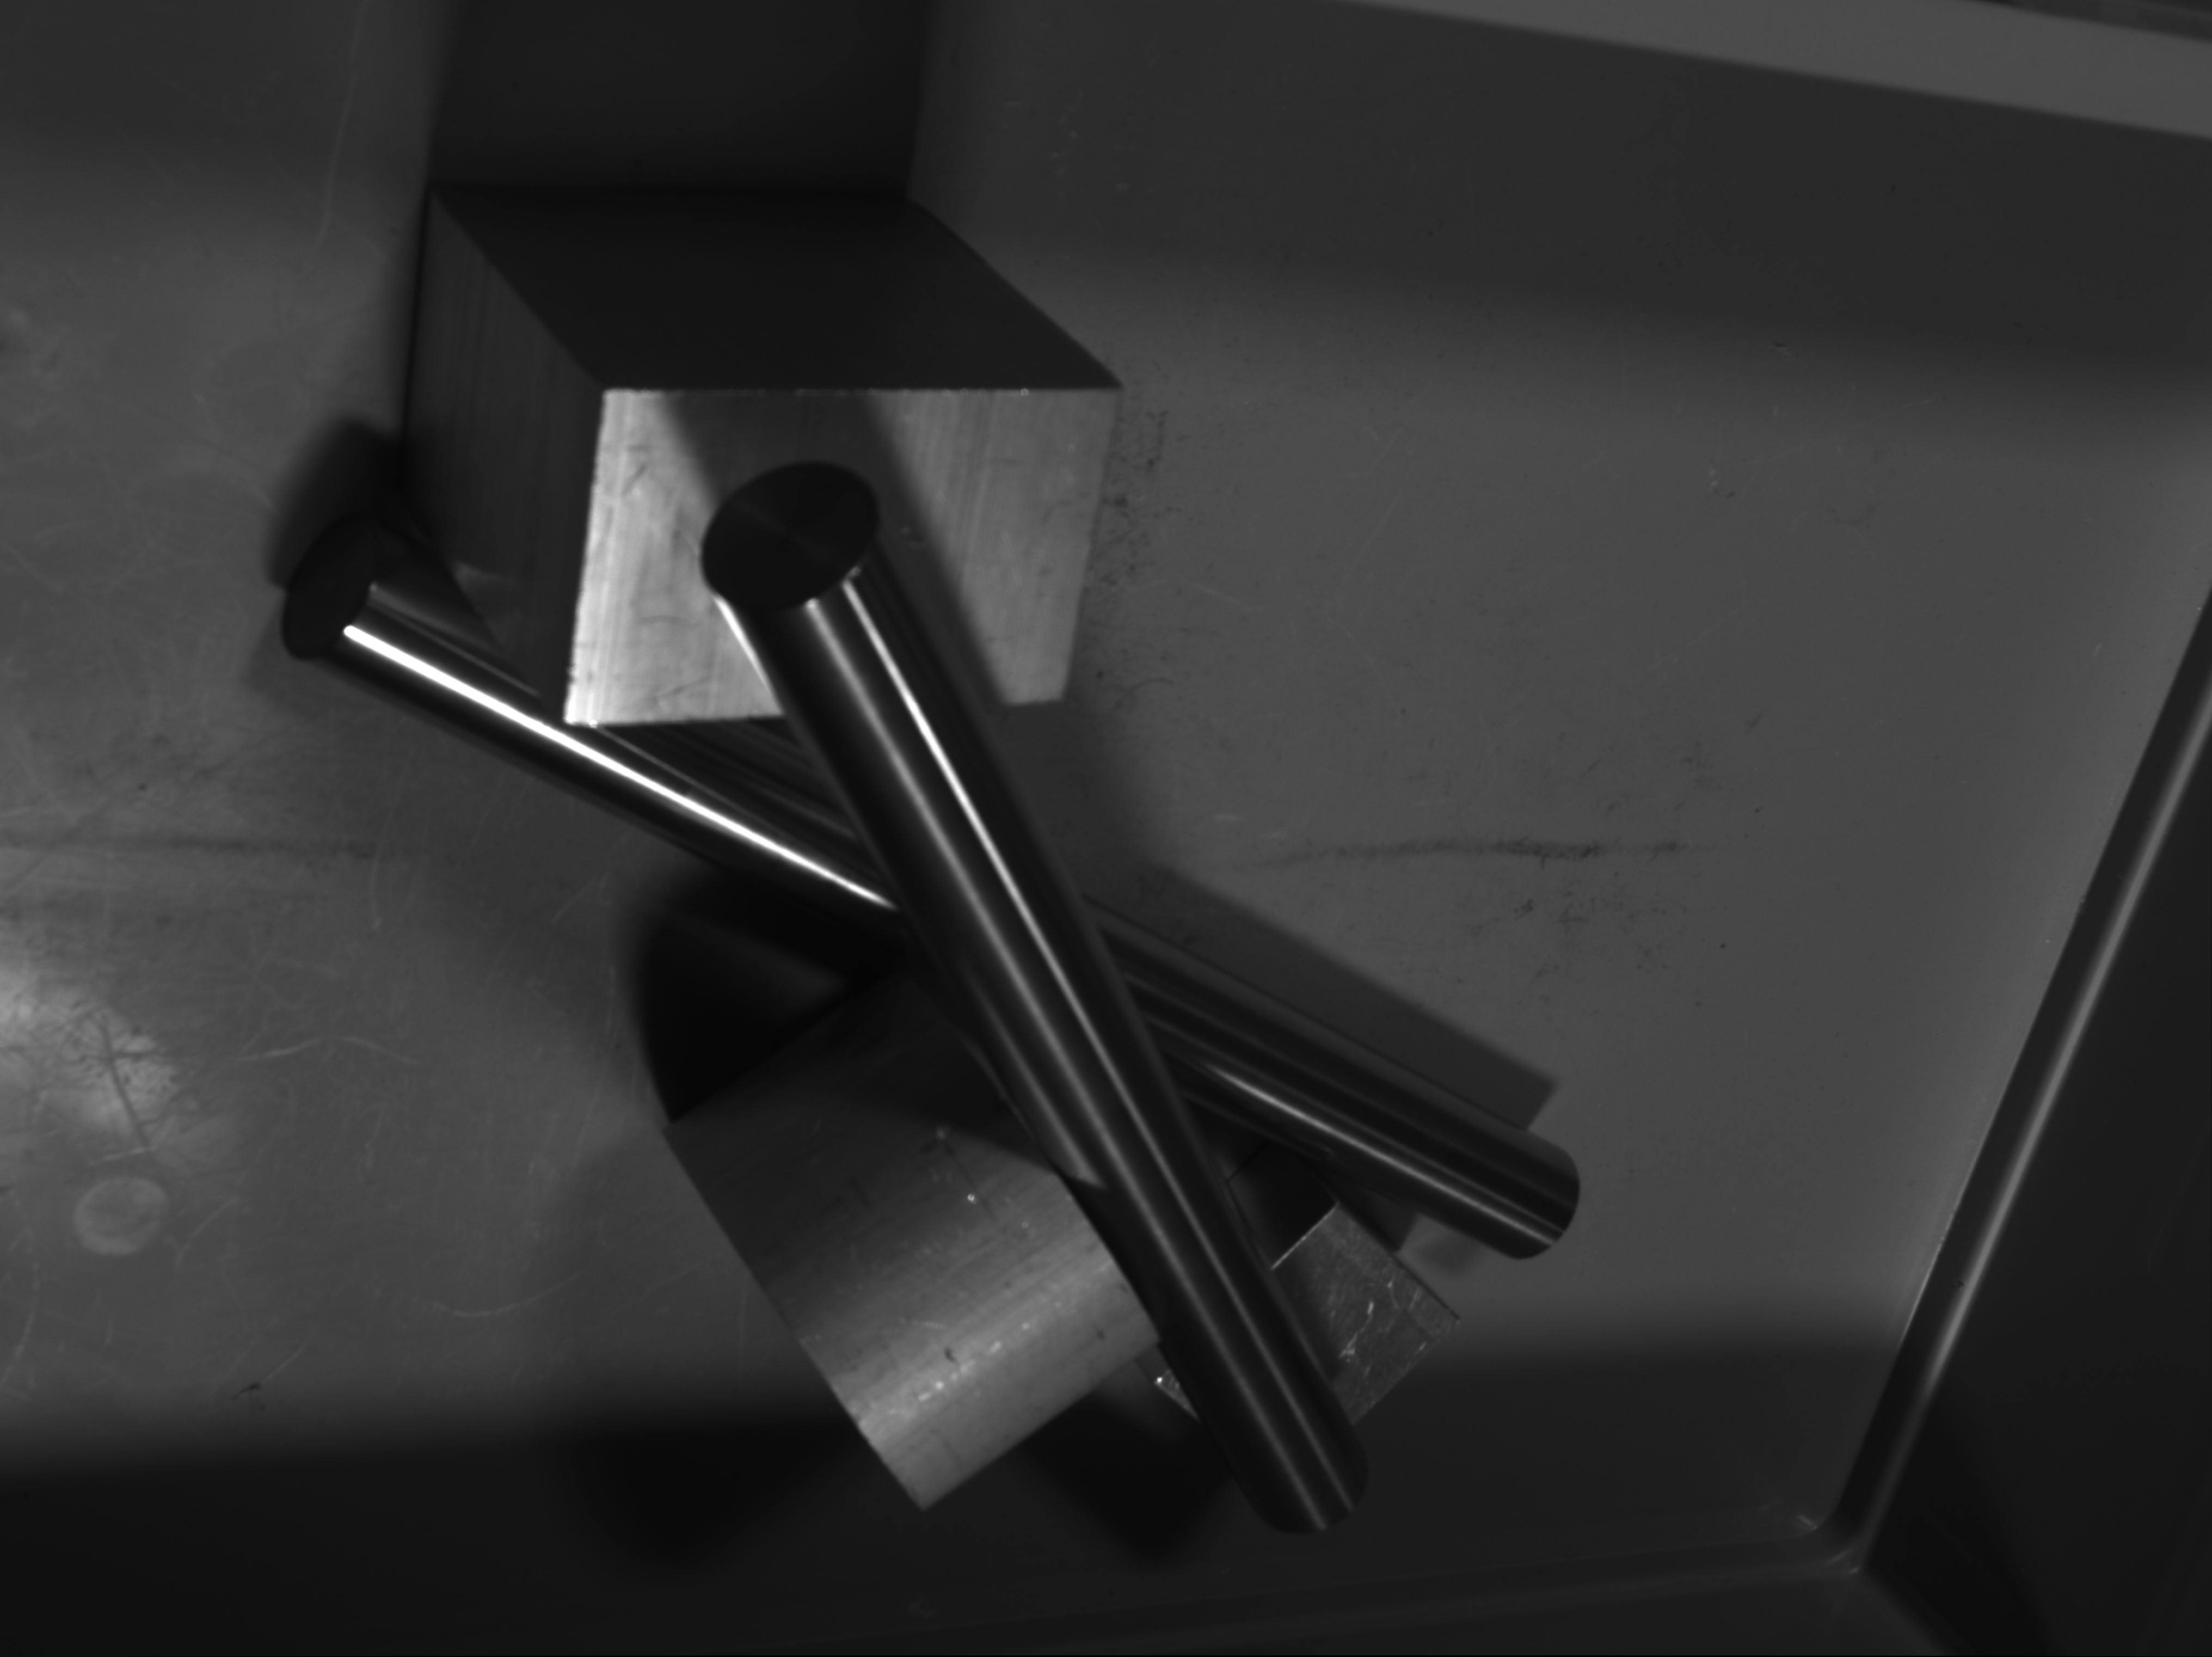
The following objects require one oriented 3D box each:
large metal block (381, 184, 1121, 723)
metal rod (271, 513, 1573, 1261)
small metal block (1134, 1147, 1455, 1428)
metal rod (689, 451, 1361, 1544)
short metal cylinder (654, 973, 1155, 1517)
[{"bbox_3d":[-0.055,-0.058,0.547,0.080,0.080,0.050,-4,120,-28],"label":"large metal block"},{"bbox_3d":[-0.017,0.020,0.652,0.301,0.025,0.025,29,101,-39],"label":"metal rod"},{"bbox_3d":[0.033,0.098,0.730,0.050,0.025,0.050,-44,130,1],"label":"small metal block"},{"bbox_3d":[-0.003,0.044,0.599,0.025,0.025,0.301,-35,142,-7],"label":"metal rod"},{"bbox_3d":[-0.035,0.072,0.637,0.050,0.080,0.080,-35,130,-7],"label":"short metal cylinder"}]
